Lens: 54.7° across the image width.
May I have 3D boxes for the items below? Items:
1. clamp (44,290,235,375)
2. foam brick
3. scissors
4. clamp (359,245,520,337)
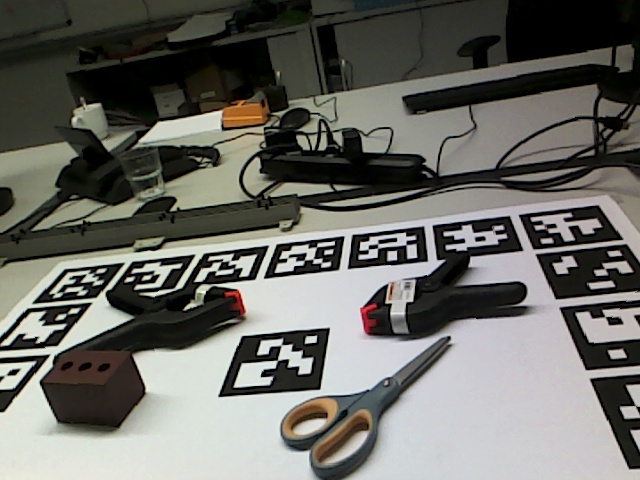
[{"bbox_3d":[-0.203,0.097,0.741,0.203,0.036,0.166,-8,23,5],"label":"clamp"},{"bbox_3d":[-0.231,0.157,0.621,0.078,0.051,0.053,-8,27,18],"label":"foam brick"},{"bbox_3d":[0.045,0.141,0.564,0.088,0.016,0.202,23,41,38],"label":"scissors"},{"bbox_3d":[0.117,0.063,0.682,0.164,0.036,0.122,-21,34,-15],"label":"clamp"}]
